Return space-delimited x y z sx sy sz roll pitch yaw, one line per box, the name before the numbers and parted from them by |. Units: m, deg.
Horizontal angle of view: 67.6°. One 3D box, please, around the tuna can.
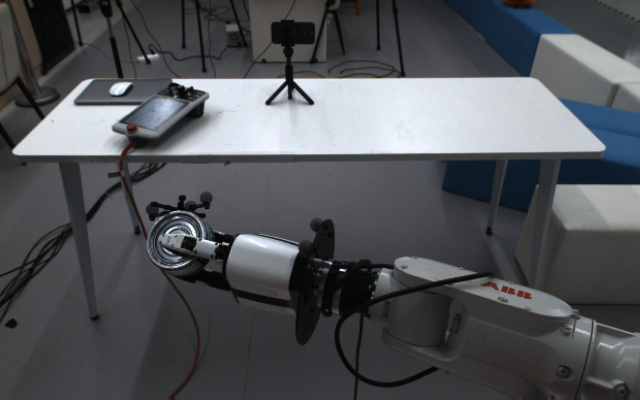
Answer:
tuna can | -0.184 0.063 0.648 0.085 0.034 0.085 -4 68 9
